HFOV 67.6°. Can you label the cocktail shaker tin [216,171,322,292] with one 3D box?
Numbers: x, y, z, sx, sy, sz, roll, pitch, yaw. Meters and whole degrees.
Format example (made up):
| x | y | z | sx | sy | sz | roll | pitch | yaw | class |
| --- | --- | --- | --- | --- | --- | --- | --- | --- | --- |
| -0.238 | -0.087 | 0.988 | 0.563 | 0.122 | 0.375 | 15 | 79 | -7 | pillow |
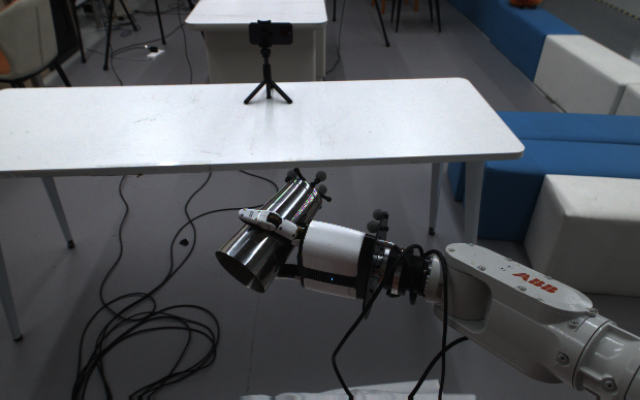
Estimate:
| x | y | z | sx | sy | sz | roll | pitch | yaw | class |
| --- | --- | --- | --- | --- | --- | --- | --- | --- | --- |
| -0.071 | 0.042 | 0.743 | 0.093 | 0.093 | 0.170 | 23 | 57 | 27 | cocktail shaker tin |
